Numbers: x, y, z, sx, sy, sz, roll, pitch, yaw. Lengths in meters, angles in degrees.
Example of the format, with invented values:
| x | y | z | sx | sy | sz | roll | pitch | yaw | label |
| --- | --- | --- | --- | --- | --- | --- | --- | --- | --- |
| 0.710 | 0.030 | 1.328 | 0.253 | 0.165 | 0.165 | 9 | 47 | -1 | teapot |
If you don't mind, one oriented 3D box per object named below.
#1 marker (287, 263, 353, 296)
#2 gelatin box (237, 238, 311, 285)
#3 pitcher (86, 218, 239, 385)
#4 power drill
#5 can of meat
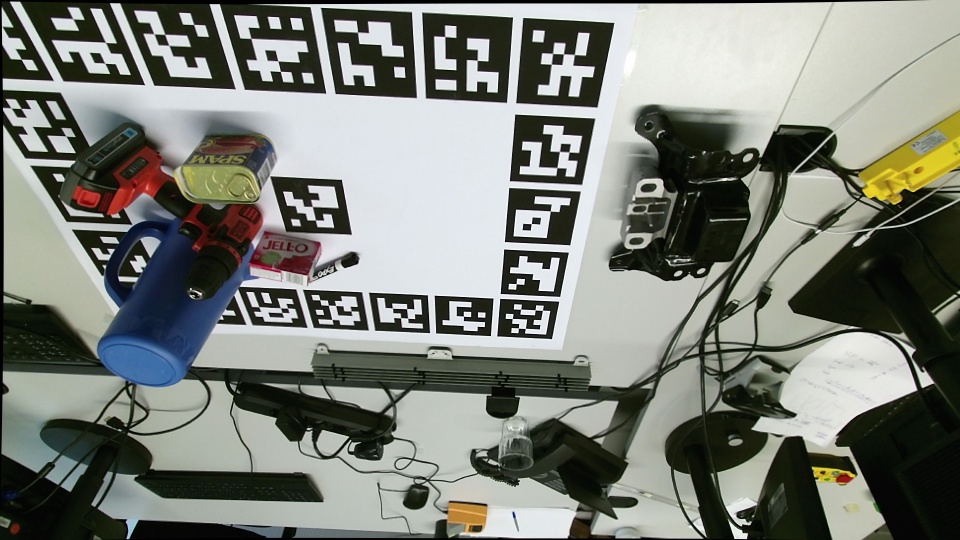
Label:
| x | y | z | sx | sy | sz | roll | pitch | yaw | label |
| --- | --- | --- | --- | --- | --- | --- | --- | --- | --- |
| -0.262 | 0.015 | 0.879 | 0.121 | 0.019 | 0.020 | -19 | 127 | 17 | marker |
| -0.315 | -0.012 | 0.825 | 0.090 | 0.073 | 0.030 | 11 | 126 | -5 | gelatin box |
| -0.463 | 0.036 | 0.770 | 0.189 | 0.241 | 0.133 | 24 | 124 | -26 | pitcher |
| -0.411 | -0.055 | 0.719 | 0.187 | 0.184 | 0.057 | 33 | 122 | -17 | power drill |
| -0.340 | -0.131 | 0.711 | 0.102 | 0.083 | 0.058 | 2 | 133 | 2 | can of meat |
